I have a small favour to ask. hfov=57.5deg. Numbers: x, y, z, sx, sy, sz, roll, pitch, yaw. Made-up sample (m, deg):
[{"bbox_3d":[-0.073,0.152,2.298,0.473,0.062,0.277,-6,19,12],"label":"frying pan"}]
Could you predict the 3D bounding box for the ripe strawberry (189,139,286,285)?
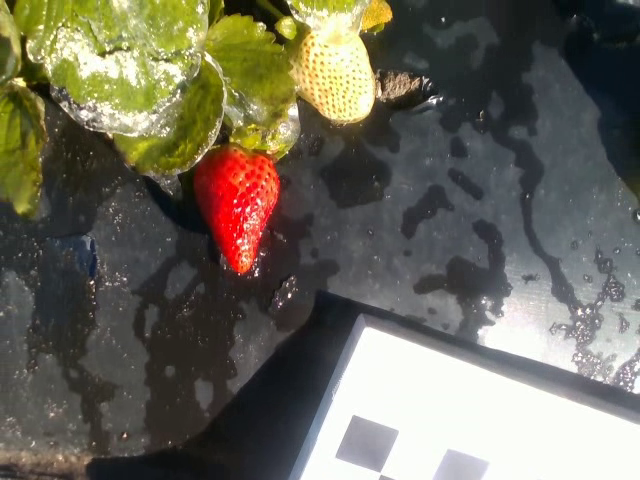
[{"bbox_3d":[-0.034,-0.009,0.239,0.041,0.052,0.040,3,6,-5],"label":"ripe strawberry"}]
